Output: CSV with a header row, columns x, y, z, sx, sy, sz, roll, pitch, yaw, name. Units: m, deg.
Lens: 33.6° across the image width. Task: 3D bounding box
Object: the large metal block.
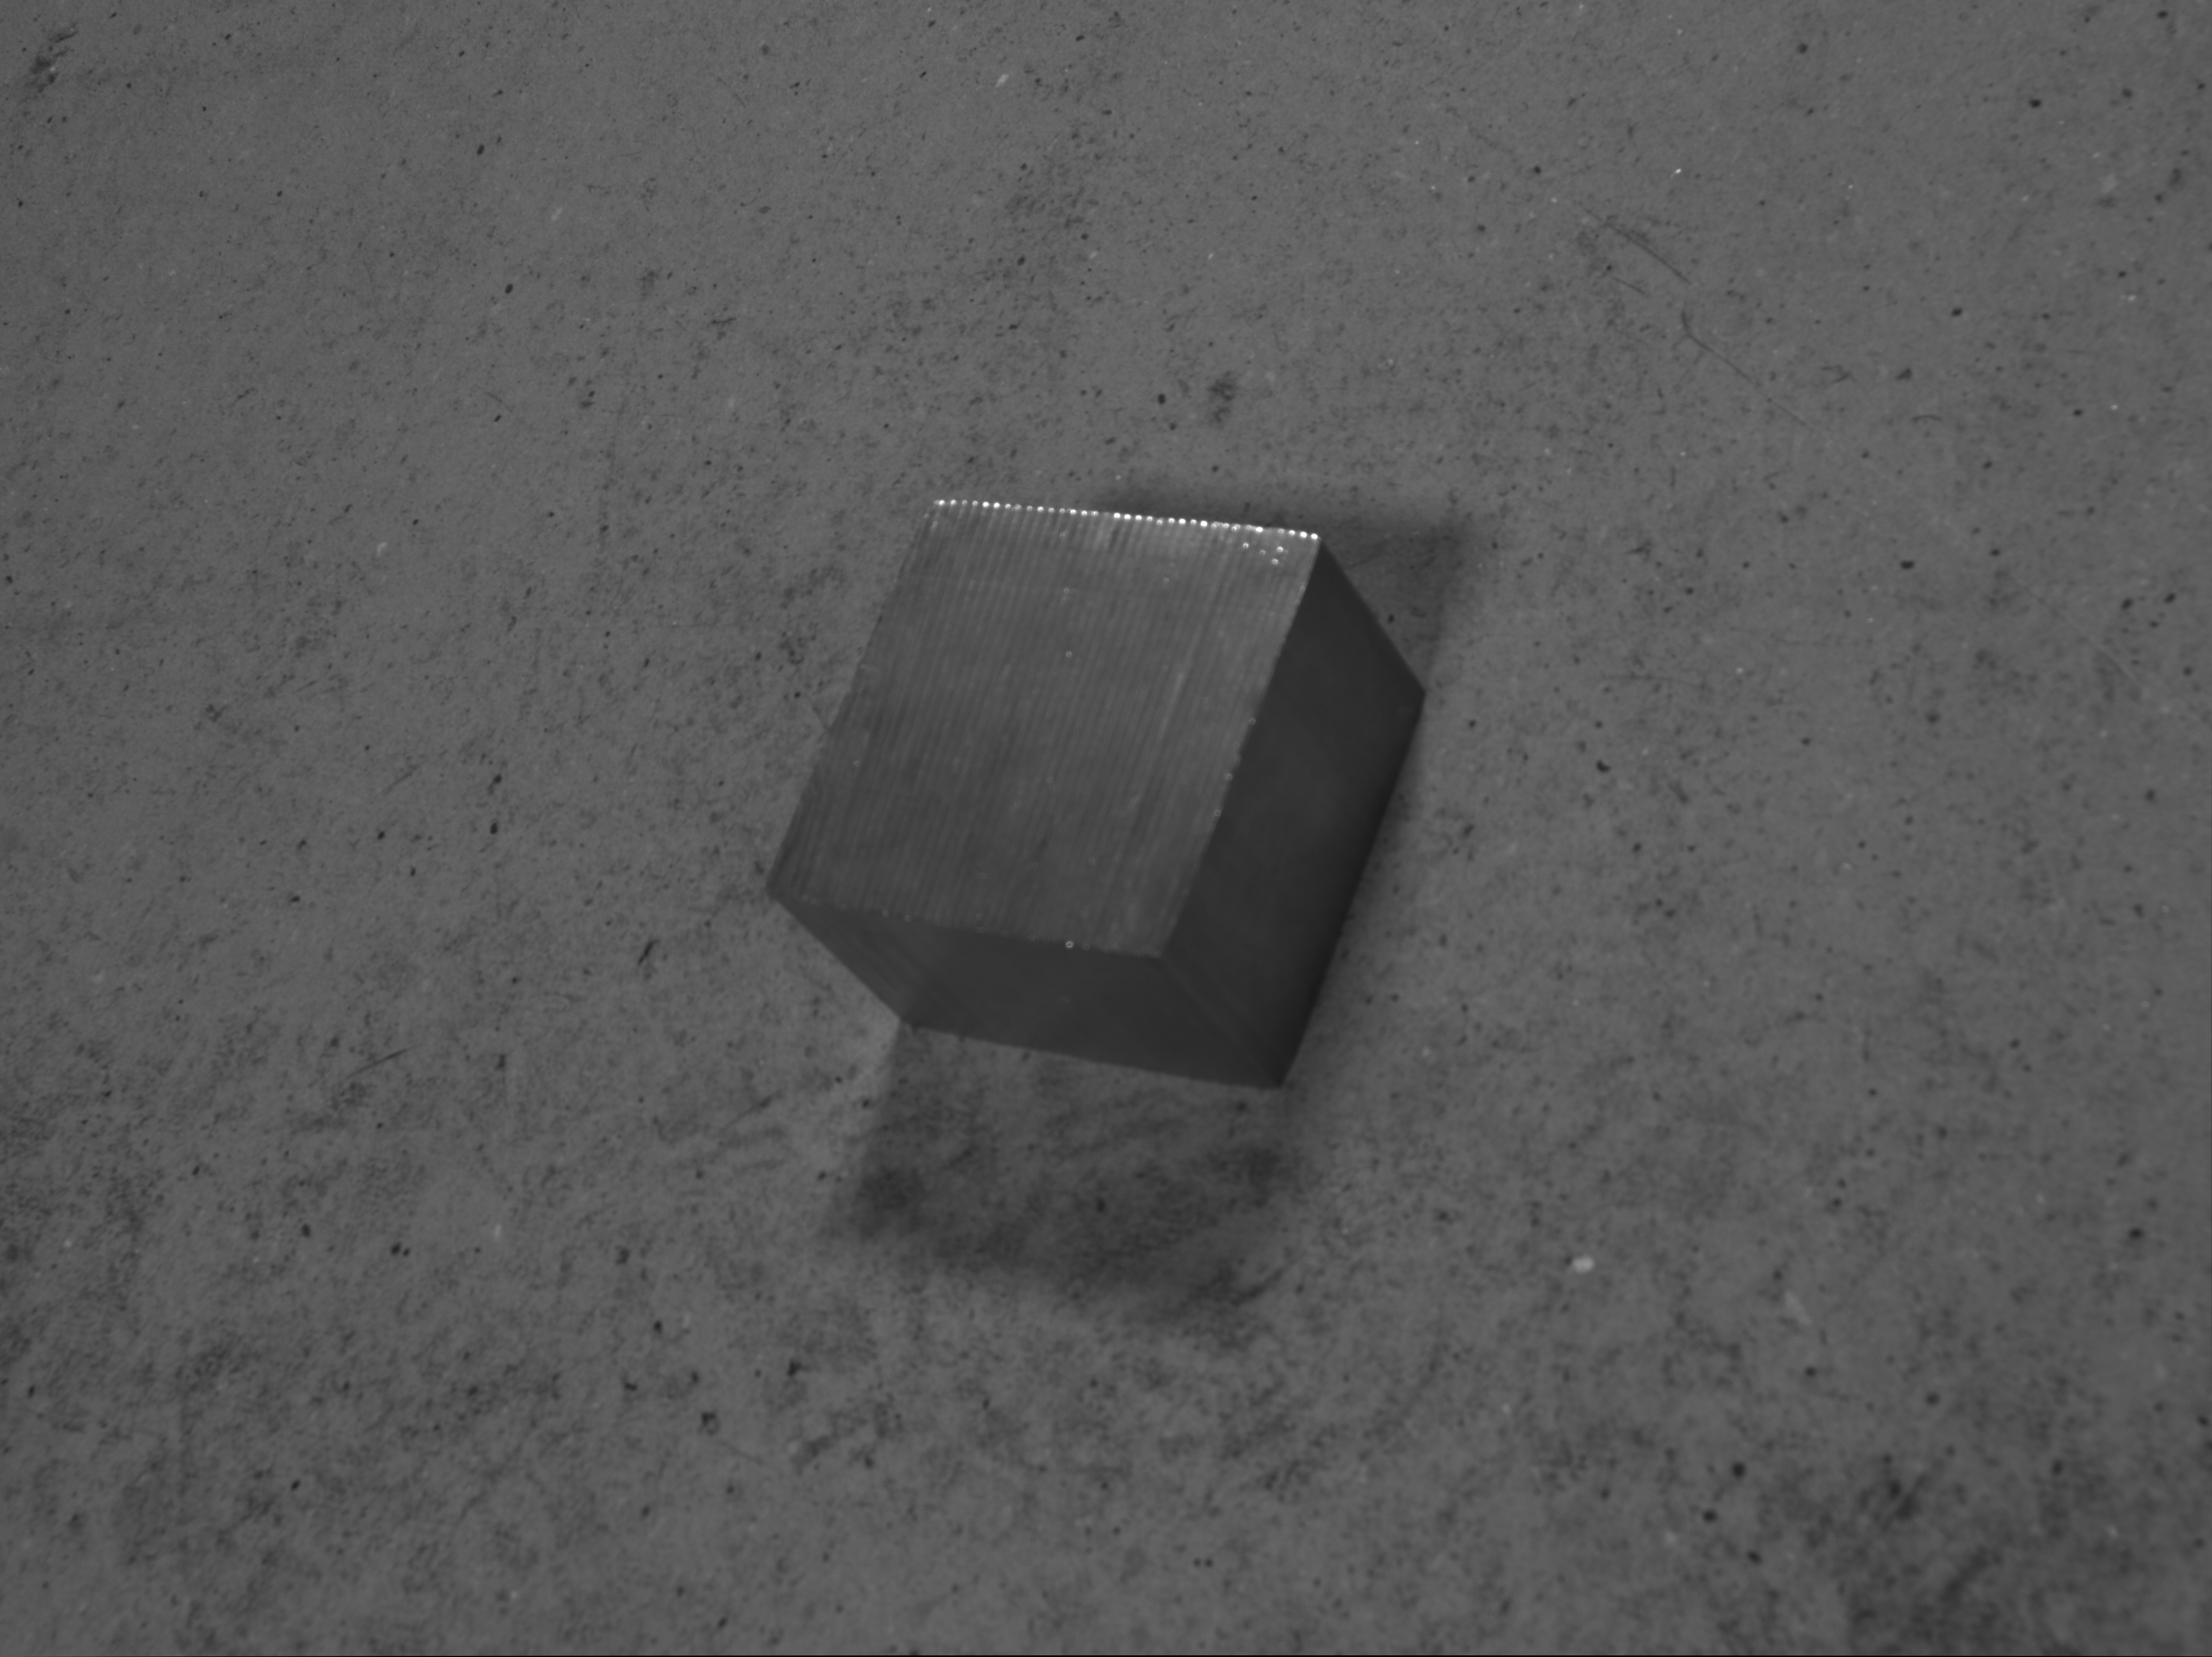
x,y,z,sx,sy,sz,roll,pitch,yaw,name
0.002,-0.007,0.632,0.080,0.050,0.080,8,66,32,large metal block
